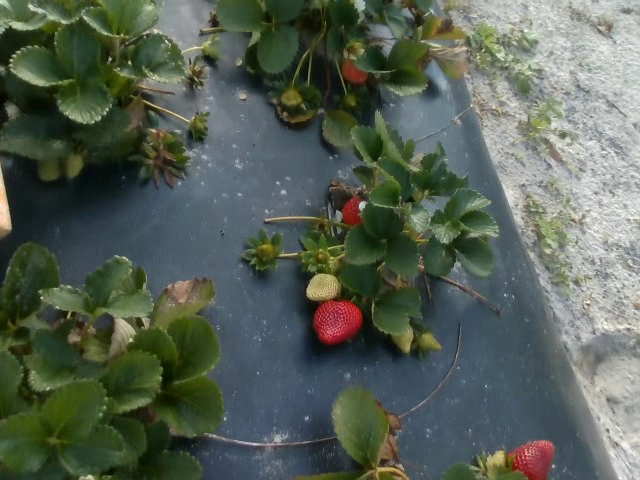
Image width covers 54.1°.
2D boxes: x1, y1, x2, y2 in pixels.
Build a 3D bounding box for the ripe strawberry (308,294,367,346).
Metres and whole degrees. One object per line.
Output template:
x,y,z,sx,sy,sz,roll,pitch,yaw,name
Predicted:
0.011,0.082,0.596,0.051,0.048,0.055,3,18,24,ripe strawberry
